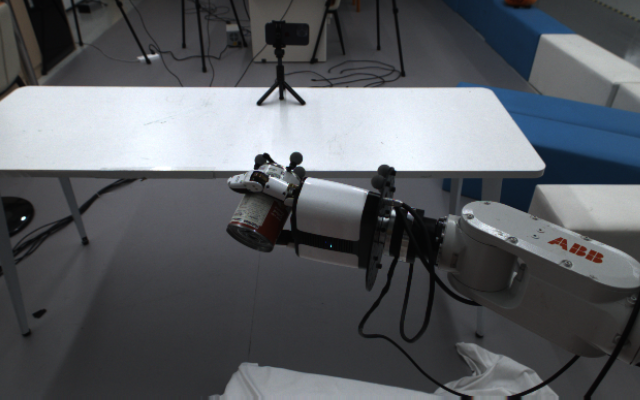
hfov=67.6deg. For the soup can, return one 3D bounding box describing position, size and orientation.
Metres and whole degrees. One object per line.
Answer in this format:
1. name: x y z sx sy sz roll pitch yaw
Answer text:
1. soup can: -0.072 0.010 0.647 0.067 0.067 0.101 15 63 18
